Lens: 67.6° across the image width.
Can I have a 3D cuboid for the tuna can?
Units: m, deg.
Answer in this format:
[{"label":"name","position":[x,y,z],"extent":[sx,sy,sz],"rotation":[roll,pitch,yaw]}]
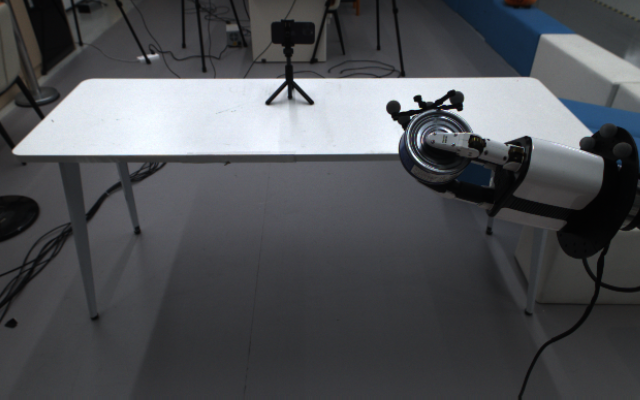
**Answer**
[{"label":"tuna can","position":[0.141,-0.067,0.575],"extent":[0.085,0.034,0.085],"rotation":[0,72,-1]}]
